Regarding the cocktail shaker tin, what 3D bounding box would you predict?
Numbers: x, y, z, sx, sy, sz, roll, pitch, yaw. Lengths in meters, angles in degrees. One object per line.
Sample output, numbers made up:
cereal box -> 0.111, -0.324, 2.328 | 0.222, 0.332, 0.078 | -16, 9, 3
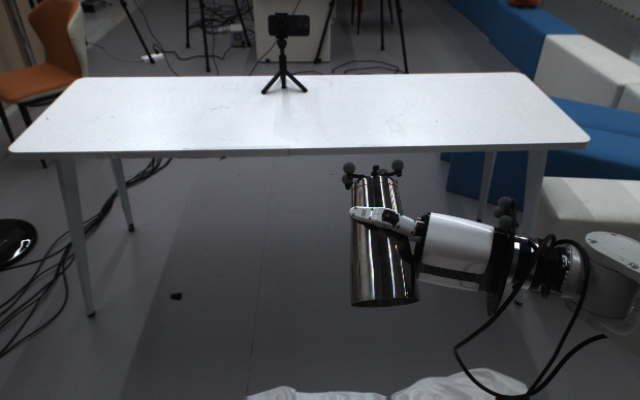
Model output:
cocktail shaker tin -> 0.082, 0.057, 0.668 | 0.093, 0.093, 0.170 | -2, 70, -5
